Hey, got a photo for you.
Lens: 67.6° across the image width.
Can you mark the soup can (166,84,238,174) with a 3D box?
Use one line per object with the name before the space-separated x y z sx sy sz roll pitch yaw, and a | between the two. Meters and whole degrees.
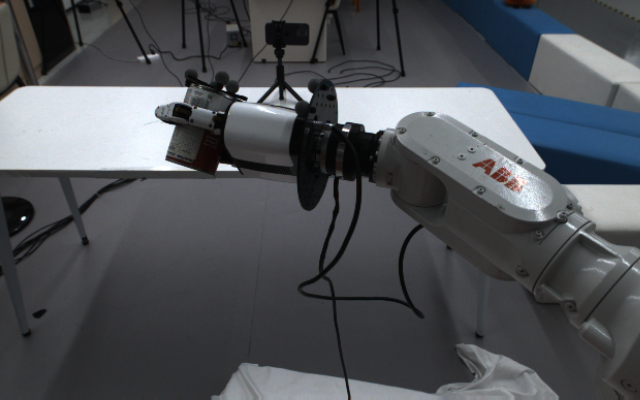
soup can | -0.152 -0.088 0.624 0.067 0.101 0.067 17 -1 0
